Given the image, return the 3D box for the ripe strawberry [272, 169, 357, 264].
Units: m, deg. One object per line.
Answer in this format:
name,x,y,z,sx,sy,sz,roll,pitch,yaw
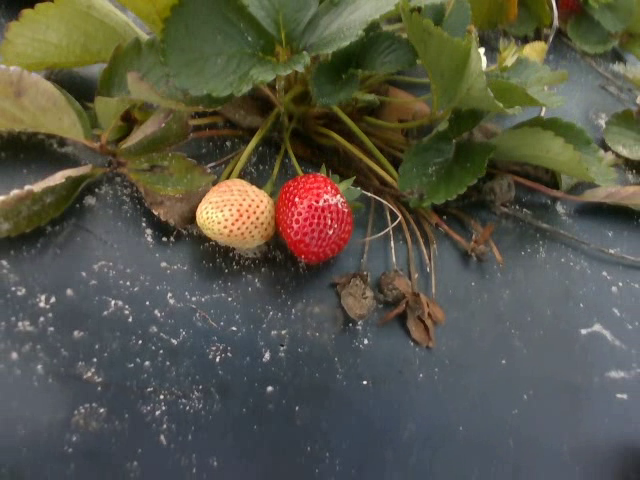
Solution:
ripe strawberry,-0.003,-0.007,0.217,0.033,0.034,0.042,-43,3,21
